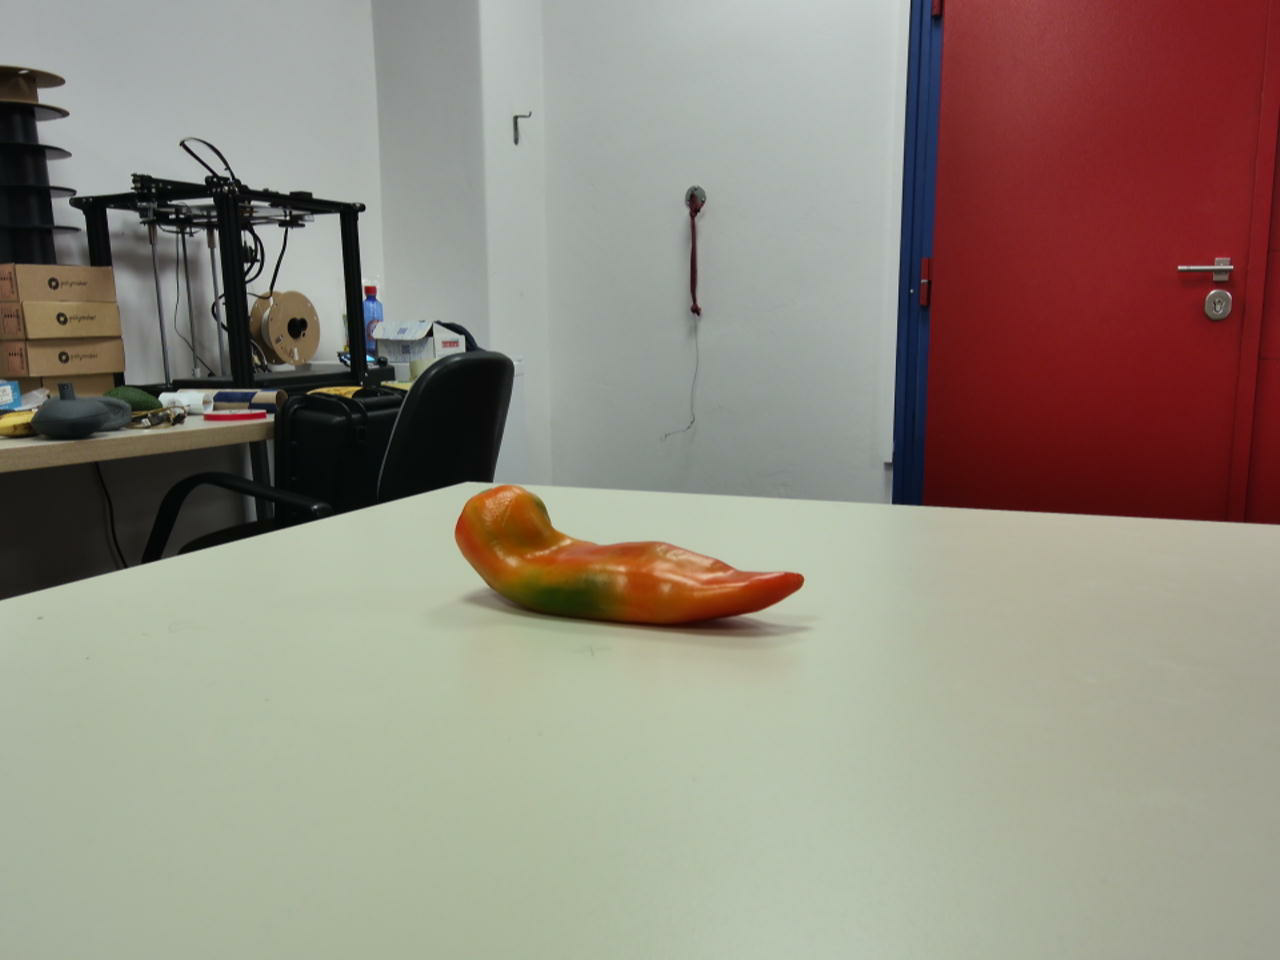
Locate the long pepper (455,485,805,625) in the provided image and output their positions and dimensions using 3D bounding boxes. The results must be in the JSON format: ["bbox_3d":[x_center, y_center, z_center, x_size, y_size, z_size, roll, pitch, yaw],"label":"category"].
[{"bbox_3d":[-0.012,0.039,0.529,0.199,0.065,0.066,4,7,29],"label":"long pepper"}]
